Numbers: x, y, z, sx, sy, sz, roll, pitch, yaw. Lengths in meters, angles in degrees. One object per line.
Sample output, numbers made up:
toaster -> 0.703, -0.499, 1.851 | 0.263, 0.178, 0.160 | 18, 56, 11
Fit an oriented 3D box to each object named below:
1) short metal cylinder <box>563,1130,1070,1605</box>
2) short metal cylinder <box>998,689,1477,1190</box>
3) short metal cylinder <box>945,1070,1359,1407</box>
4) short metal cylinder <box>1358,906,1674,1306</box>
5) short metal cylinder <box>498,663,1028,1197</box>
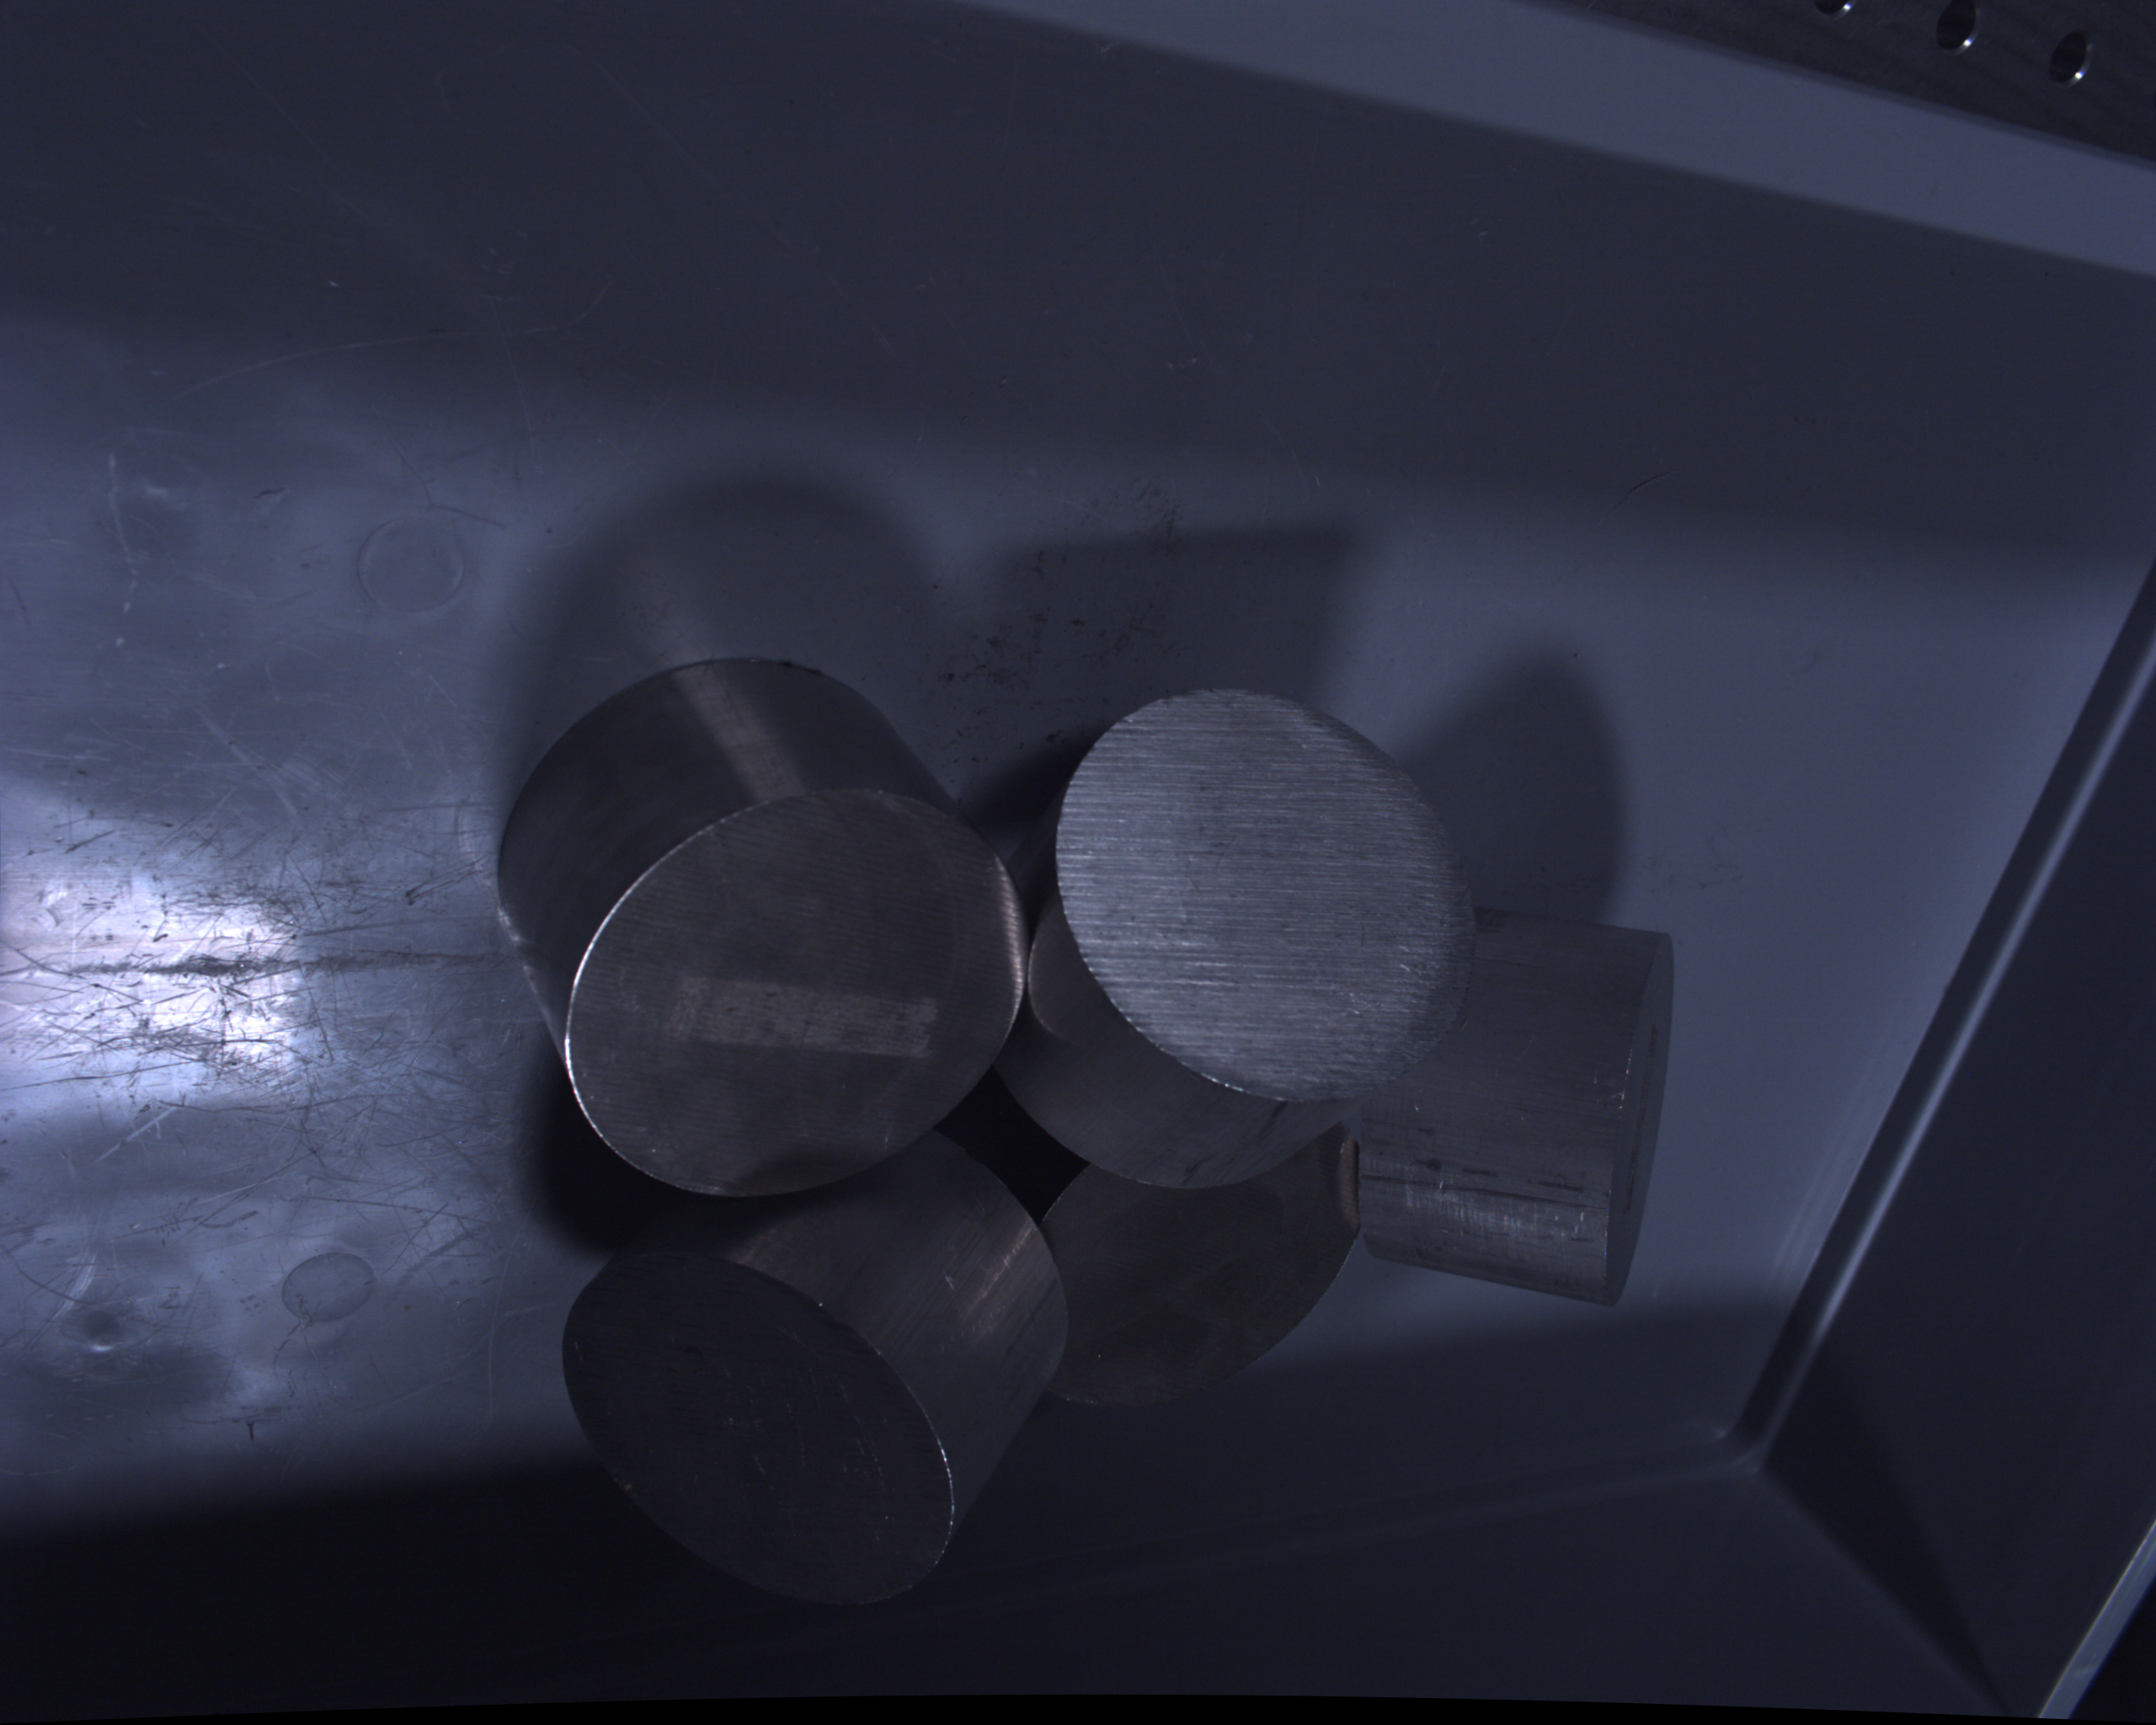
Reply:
short metal cylinder -> -0.048, 0.091, 0.394 | 0.050, 0.080, 0.079 | -49, 149, -54
short metal cylinder -> 0.026, 0.015, 0.386 | 0.081, 0.080, 0.050 | -8, 158, -25
short metal cylinder -> 0.013, 0.067, 0.441 | 0.081, 0.050, 0.079 | -14, 125, -21
short metal cylinder -> 0.096, 0.051, 0.450 | 0.080, 0.050, 0.080 | 8, 91, -68
short metal cylinder -> -0.056, 0.012, 0.367 | 0.081, 0.050, 0.079 | -14, 125, -21
